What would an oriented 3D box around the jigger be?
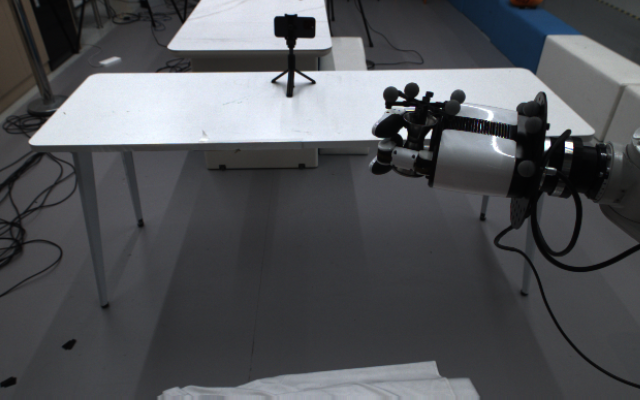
[{"bbox_3d":[0.118,-0.068,0.591,0.043,0.071,0.043,4,31,-2],"label":"jigger"}]
